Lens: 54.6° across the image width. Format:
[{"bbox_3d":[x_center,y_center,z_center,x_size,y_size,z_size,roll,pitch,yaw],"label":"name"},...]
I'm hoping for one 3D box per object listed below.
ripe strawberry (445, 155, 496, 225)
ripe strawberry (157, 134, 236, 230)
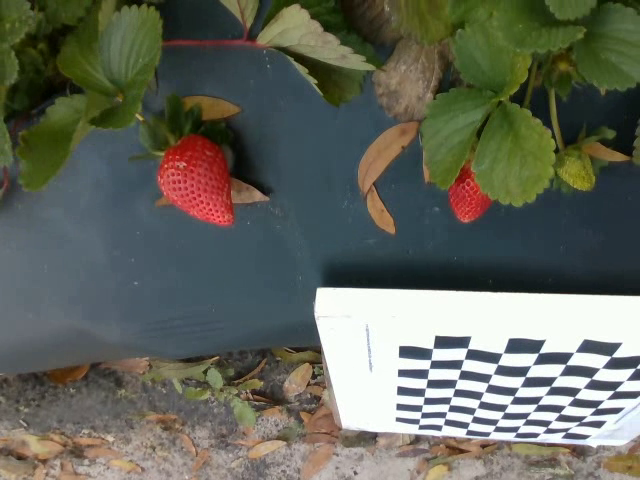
[{"bbox_3d":[0.086,-0.025,0.347,0.041,0.042,0.037,5,11,-3],"label":"ripe strawberry"},{"bbox_3d":[-0.067,-0.029,0.360,0.043,0.065,0.046,-32,-23,-15],"label":"ripe strawberry"}]
